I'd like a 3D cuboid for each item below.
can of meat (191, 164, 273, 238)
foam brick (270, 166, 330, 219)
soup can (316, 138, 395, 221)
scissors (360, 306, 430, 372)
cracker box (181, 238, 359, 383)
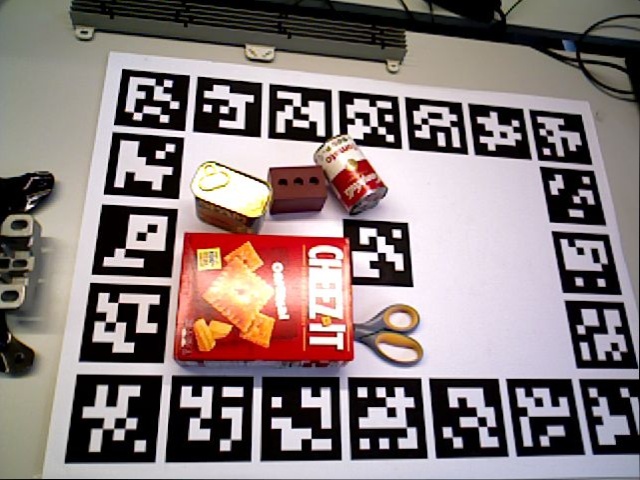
[{"bbox_3d":[-0.118,-0.048,0.722,0.101,0.085,0.057,16,68,-5],"label":"can of meat"},{"bbox_3d":[-0.029,-0.066,0.765,0.077,0.052,0.052,-7,72,-13],"label":"foam brick"},{"bbox_3d":[0.051,-0.088,0.785,0.067,0.069,0.102,-35,74,-20],"label":"soup can"},{"bbox_3d":[0.044,0.134,0.713,0.201,0.016,0.087,-2,72,-10],"label":"scissors"},{"bbox_3d":[-0.064,0.084,0.678,0.212,0.073,0.163,-3,70,-7],"label":"cracker box"}]
